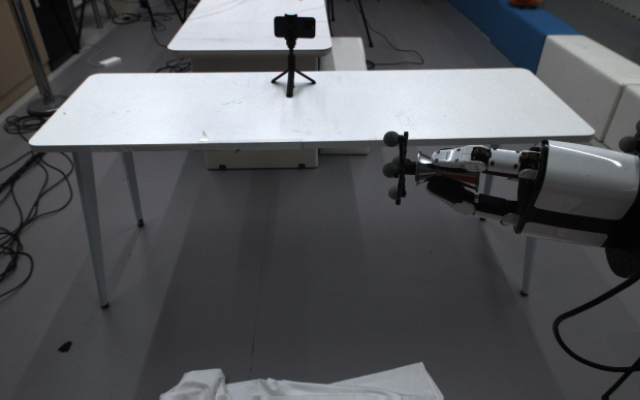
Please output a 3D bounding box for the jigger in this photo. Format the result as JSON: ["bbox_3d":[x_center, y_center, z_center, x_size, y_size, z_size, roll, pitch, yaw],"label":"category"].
[{"bbox_3d":[0.151,-0.037,0.546,0.071,0.043,0.043,4,34,16],"label":"jigger"}]
